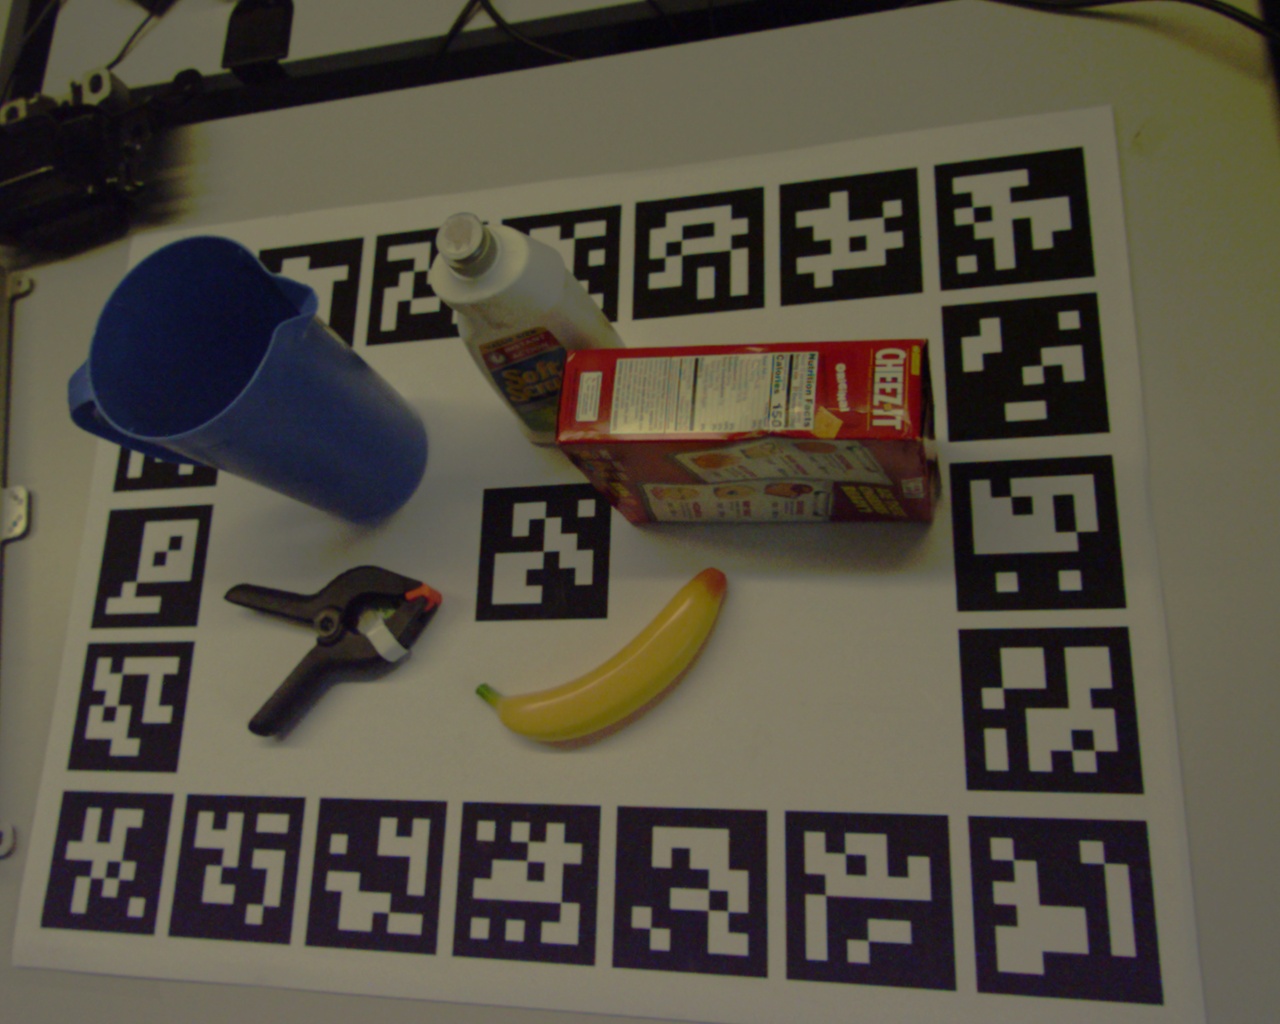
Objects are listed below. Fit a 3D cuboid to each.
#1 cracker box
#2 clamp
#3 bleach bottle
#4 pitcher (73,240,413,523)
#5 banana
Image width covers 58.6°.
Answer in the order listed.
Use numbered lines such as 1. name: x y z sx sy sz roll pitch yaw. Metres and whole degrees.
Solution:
1. cracker box: 0.072 -0.039 0.754 0.215 0.162 0.072 -1 70 18
2. clamp: -0.231 0.090 0.889 0.166 0.036 0.122 -18 67 9
3. bleach bottle: -0.081 -0.113 0.795 0.103 0.248 0.068 -2 71 16
4. pitcher: -0.269 -0.073 0.819 0.189 0.240 0.134 -20 68 7
5. banana: -0.018 0.107 0.826 0.197 0.038 0.075 -35 66 4
